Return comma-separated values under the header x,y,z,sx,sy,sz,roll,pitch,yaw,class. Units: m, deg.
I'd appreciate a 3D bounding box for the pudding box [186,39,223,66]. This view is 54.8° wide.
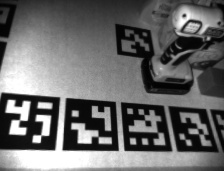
x,y,z,sx,sy,sz,roll,pitch,yaw,class
0.213,-0.092,0.530,0.114,0.090,0.038,3,60,-13,pudding box

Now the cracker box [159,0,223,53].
x,y,z,sx,sy,sz,roll,pitch,yaw,class
0.231,-0.160,0.510,0.165,0.213,0.071,1,60,-15,cracker box

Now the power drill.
x,y,z,sx,sy,sz,roll,pitch,yaw,class
0.175,-0.075,0.426,0.186,0.186,0.057,3,58,-17,power drill

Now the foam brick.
x,y,z,sx,sy,sz,roll,pitch,yaw,class
0.264,-0.017,0.545,0.078,0.051,0.052,6,62,-15,foam brick

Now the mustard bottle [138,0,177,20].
x,y,z,sx,sy,sz,roll,pitch,yaw,class
0.140,-0.253,0.536,0.097,0.191,0.058,15,60,-9,mustard bottle
